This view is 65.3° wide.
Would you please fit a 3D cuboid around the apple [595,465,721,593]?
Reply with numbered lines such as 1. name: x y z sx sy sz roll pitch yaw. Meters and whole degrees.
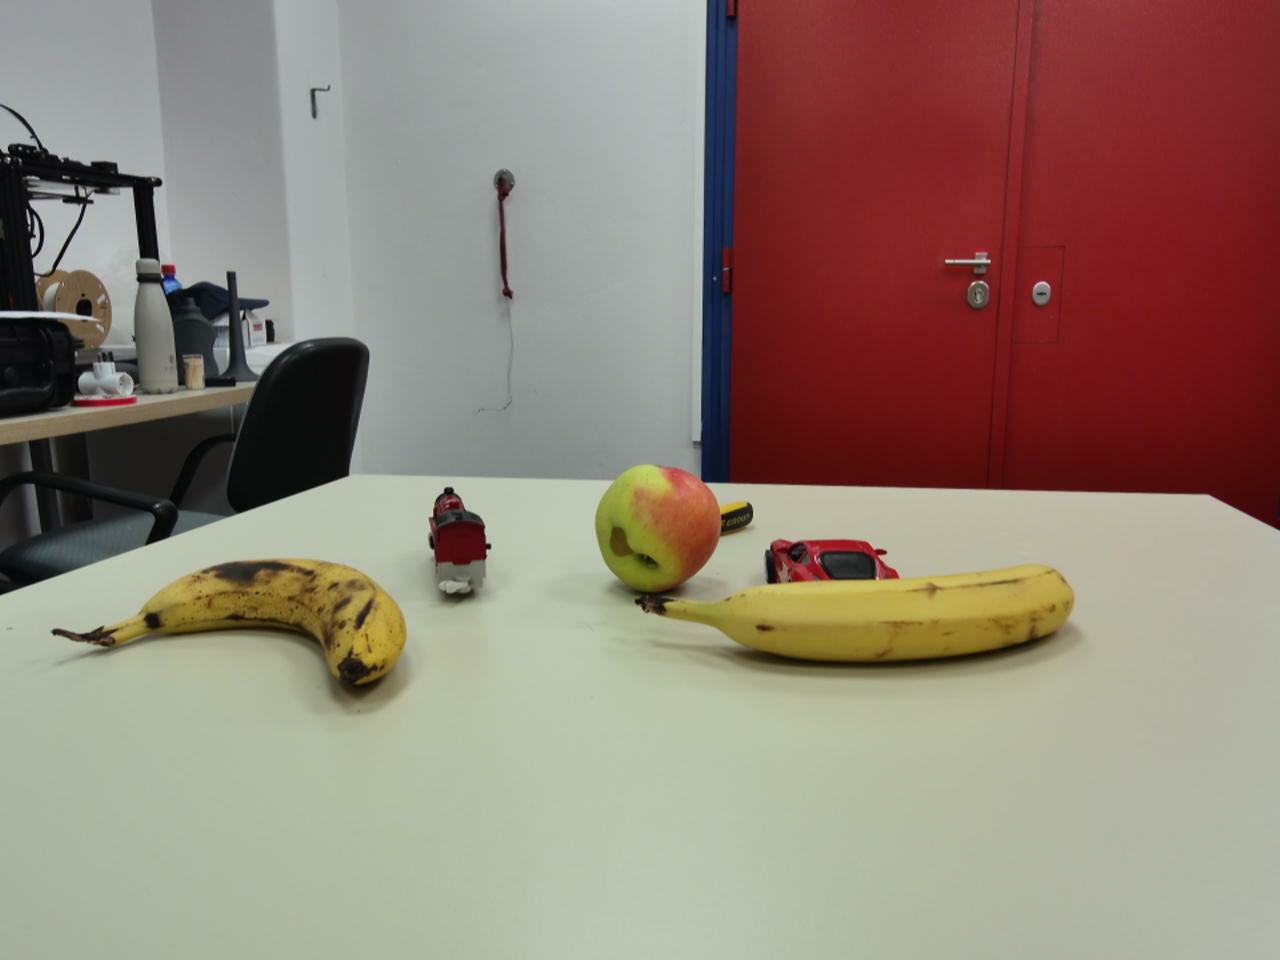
1. apple: 0.011 0.029 0.596 0.075 0.074 0.075 0 7 -8
